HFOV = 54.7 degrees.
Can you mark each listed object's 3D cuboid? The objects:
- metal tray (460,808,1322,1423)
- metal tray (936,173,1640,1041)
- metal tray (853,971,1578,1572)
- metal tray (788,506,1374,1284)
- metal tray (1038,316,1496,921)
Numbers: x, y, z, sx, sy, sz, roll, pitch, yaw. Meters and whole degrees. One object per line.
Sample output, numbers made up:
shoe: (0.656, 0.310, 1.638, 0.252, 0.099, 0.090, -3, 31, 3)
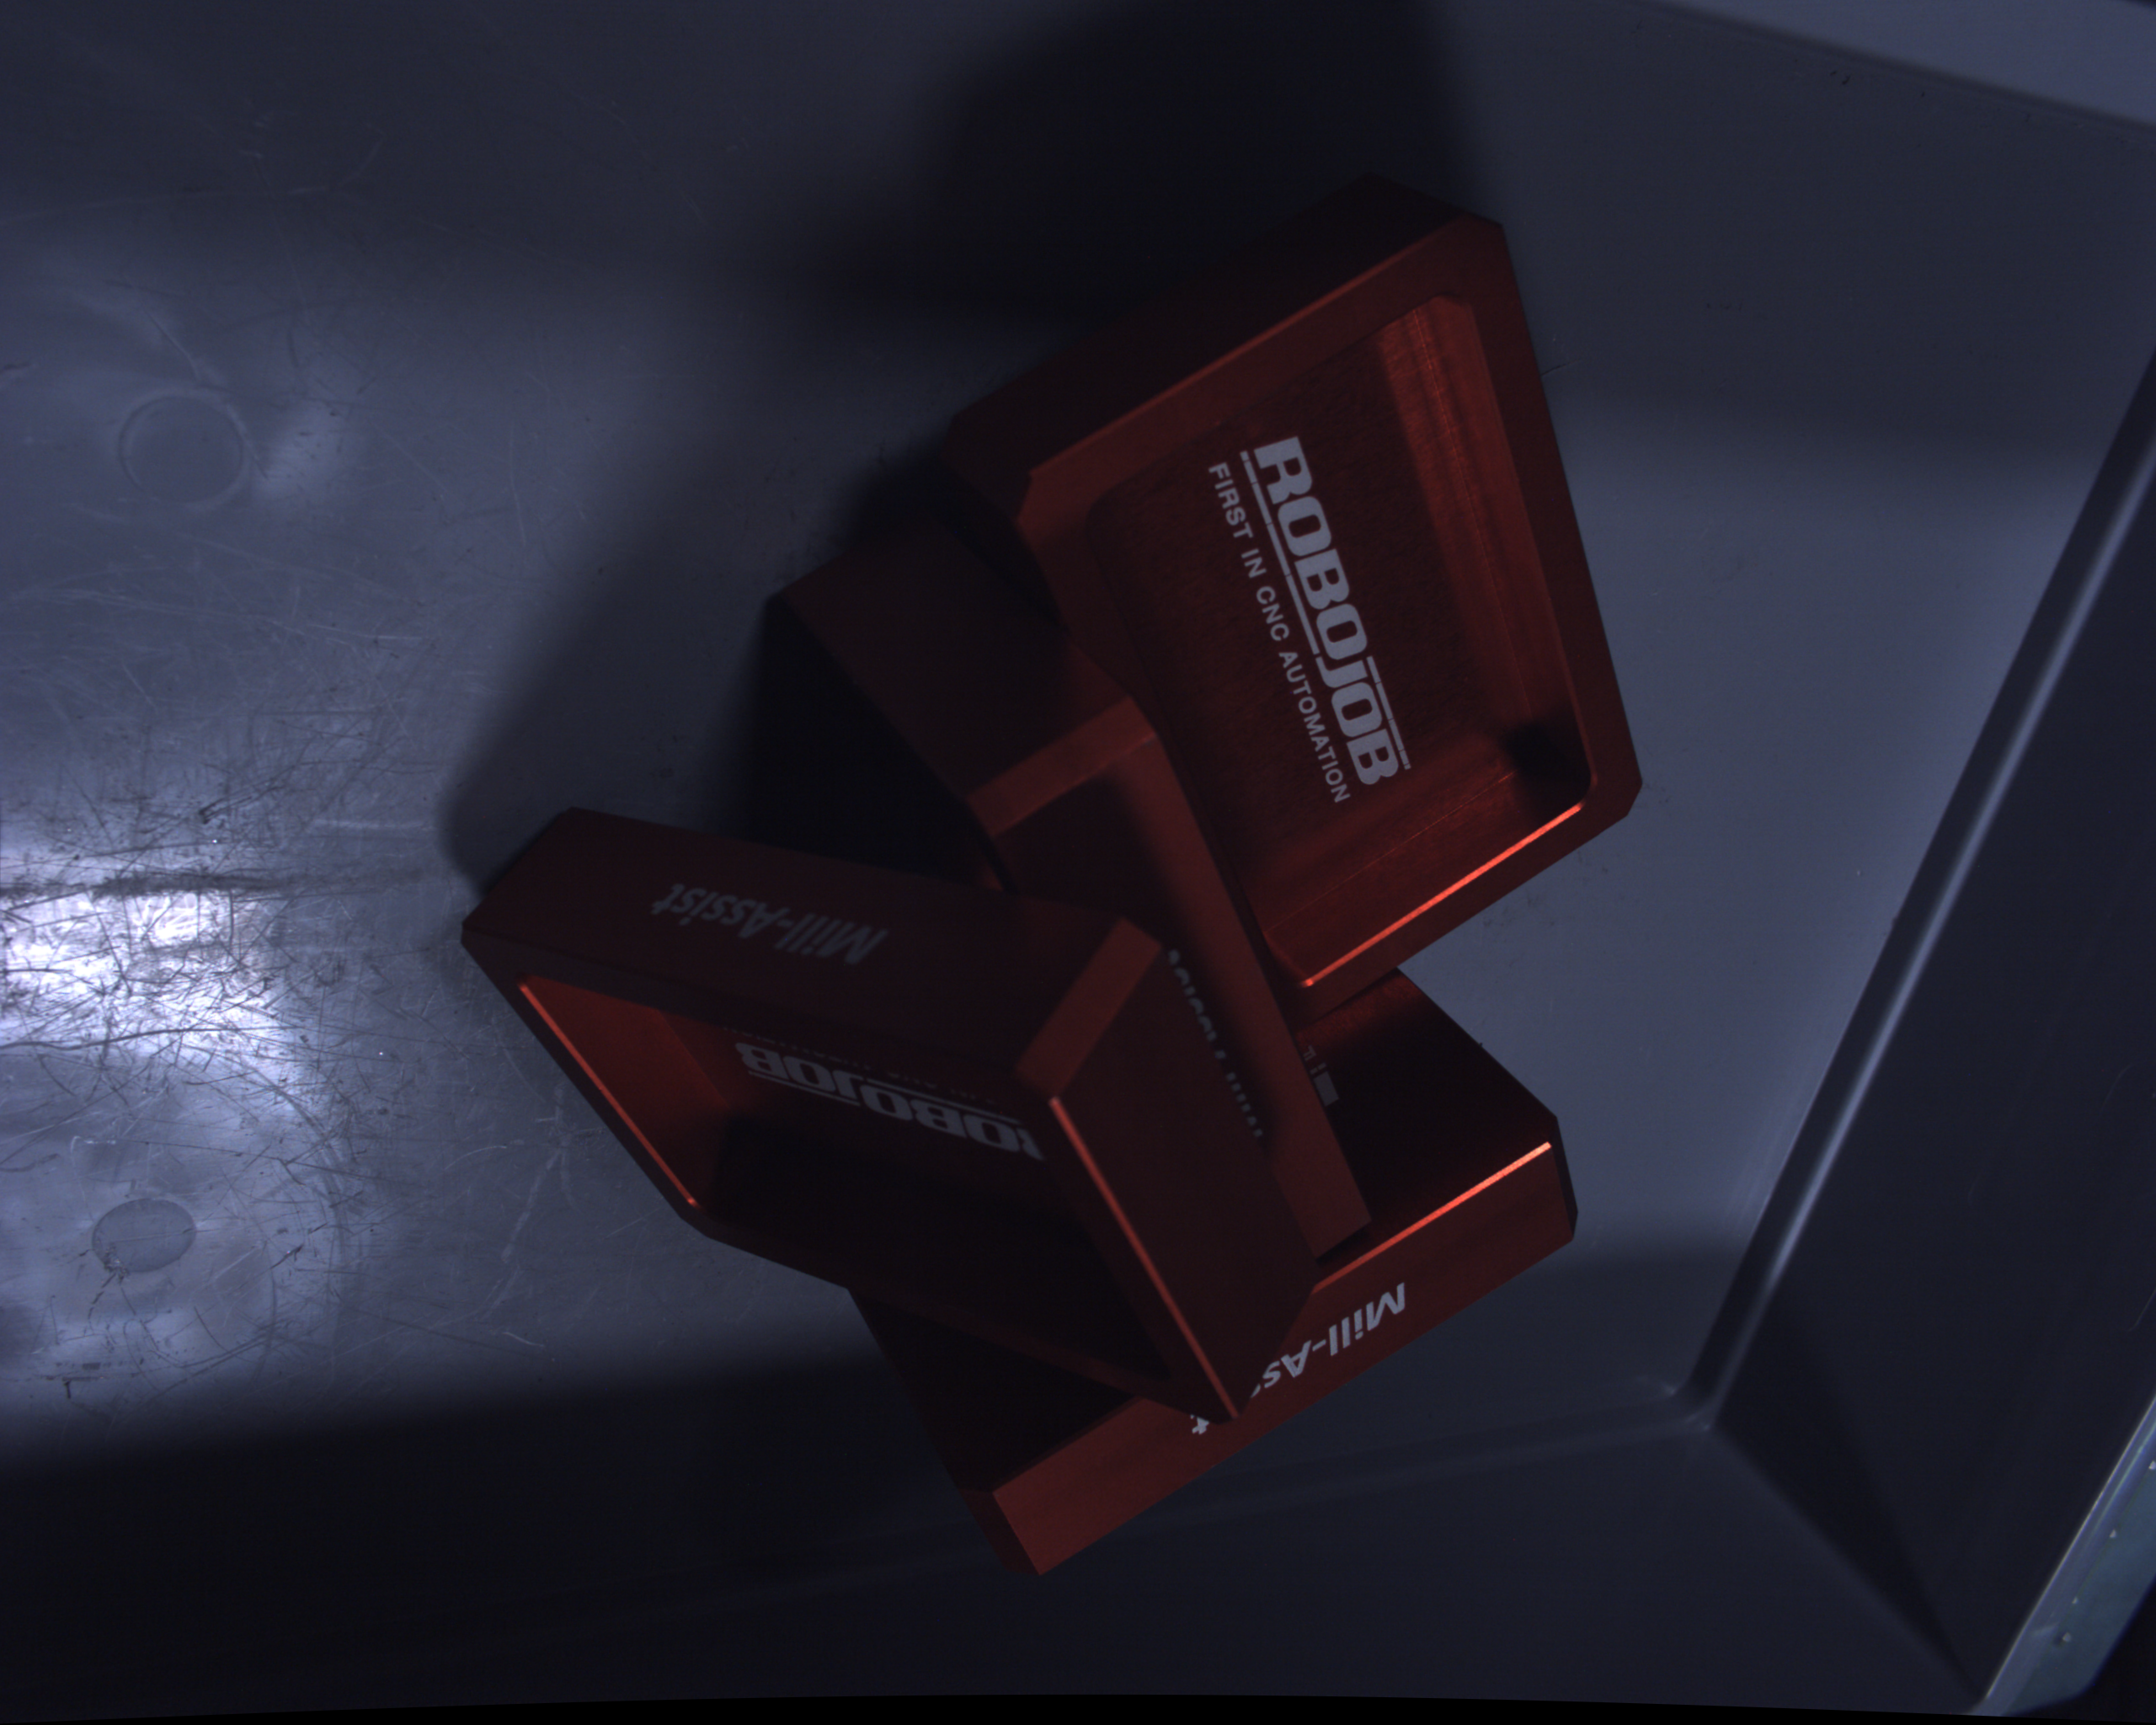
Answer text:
metal tray: (-0.033, 0.040, 0.349, 0.030, 0.130, 0.090, -54, 136, -30)
metal tray: (0.042, -0.040, 0.364, 0.090, 0.030, 0.130, -32, 128, -8)
metal tray: (0.021, 0.071, 0.422, 0.131, 0.090, 0.030, -29, 129, -11)
metal tray: (0.002, 0.010, 0.372, 0.030, 0.090, 0.130, -32, 129, -8)
metal tray: (0.050, -0.041, 0.409, 0.090, 0.030, 0.129, -29, 128, -8)
